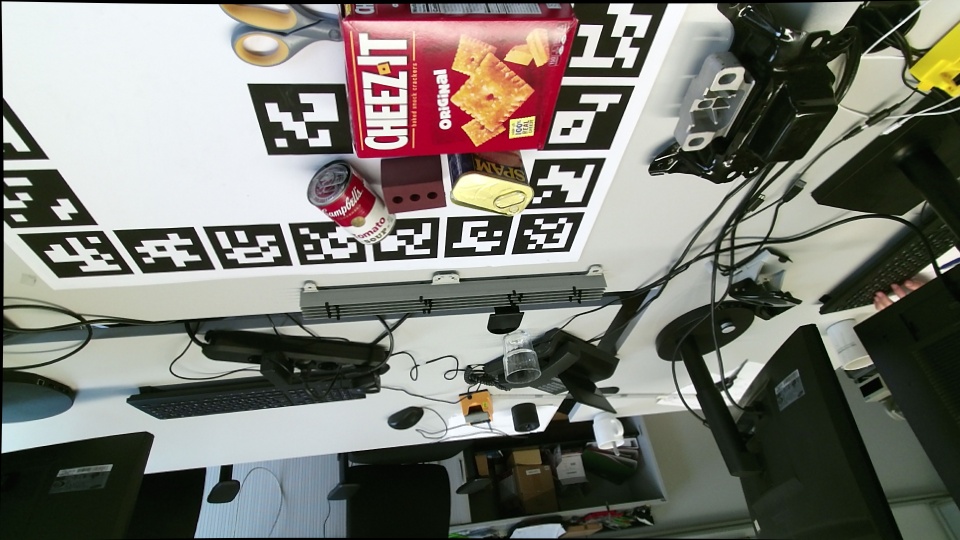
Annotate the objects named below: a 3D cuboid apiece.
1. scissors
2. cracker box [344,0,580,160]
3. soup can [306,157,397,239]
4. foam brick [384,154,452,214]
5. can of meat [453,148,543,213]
[{"bbox_3d":[-0.132,-0.241,0.519,0.203,0.016,0.088,-6,142,-6],"label":"scissors"},{"bbox_3d":[-0.017,-0.202,0.548,0.214,0.071,0.164,-9,144,-8],"label":"cracker box"},{"bbox_3d":[-0.164,-0.091,0.697,0.068,0.067,0.102,-27,146,20],"label":"soup can"},{"bbox_3d":[-0.081,-0.113,0.691,0.078,0.051,0.053,-10,142,-2],"label":"foam brick"},{"bbox_3d":[0.019,-0.124,0.671,0.102,0.083,0.058,6,139,-21],"label":"can of meat"}]
